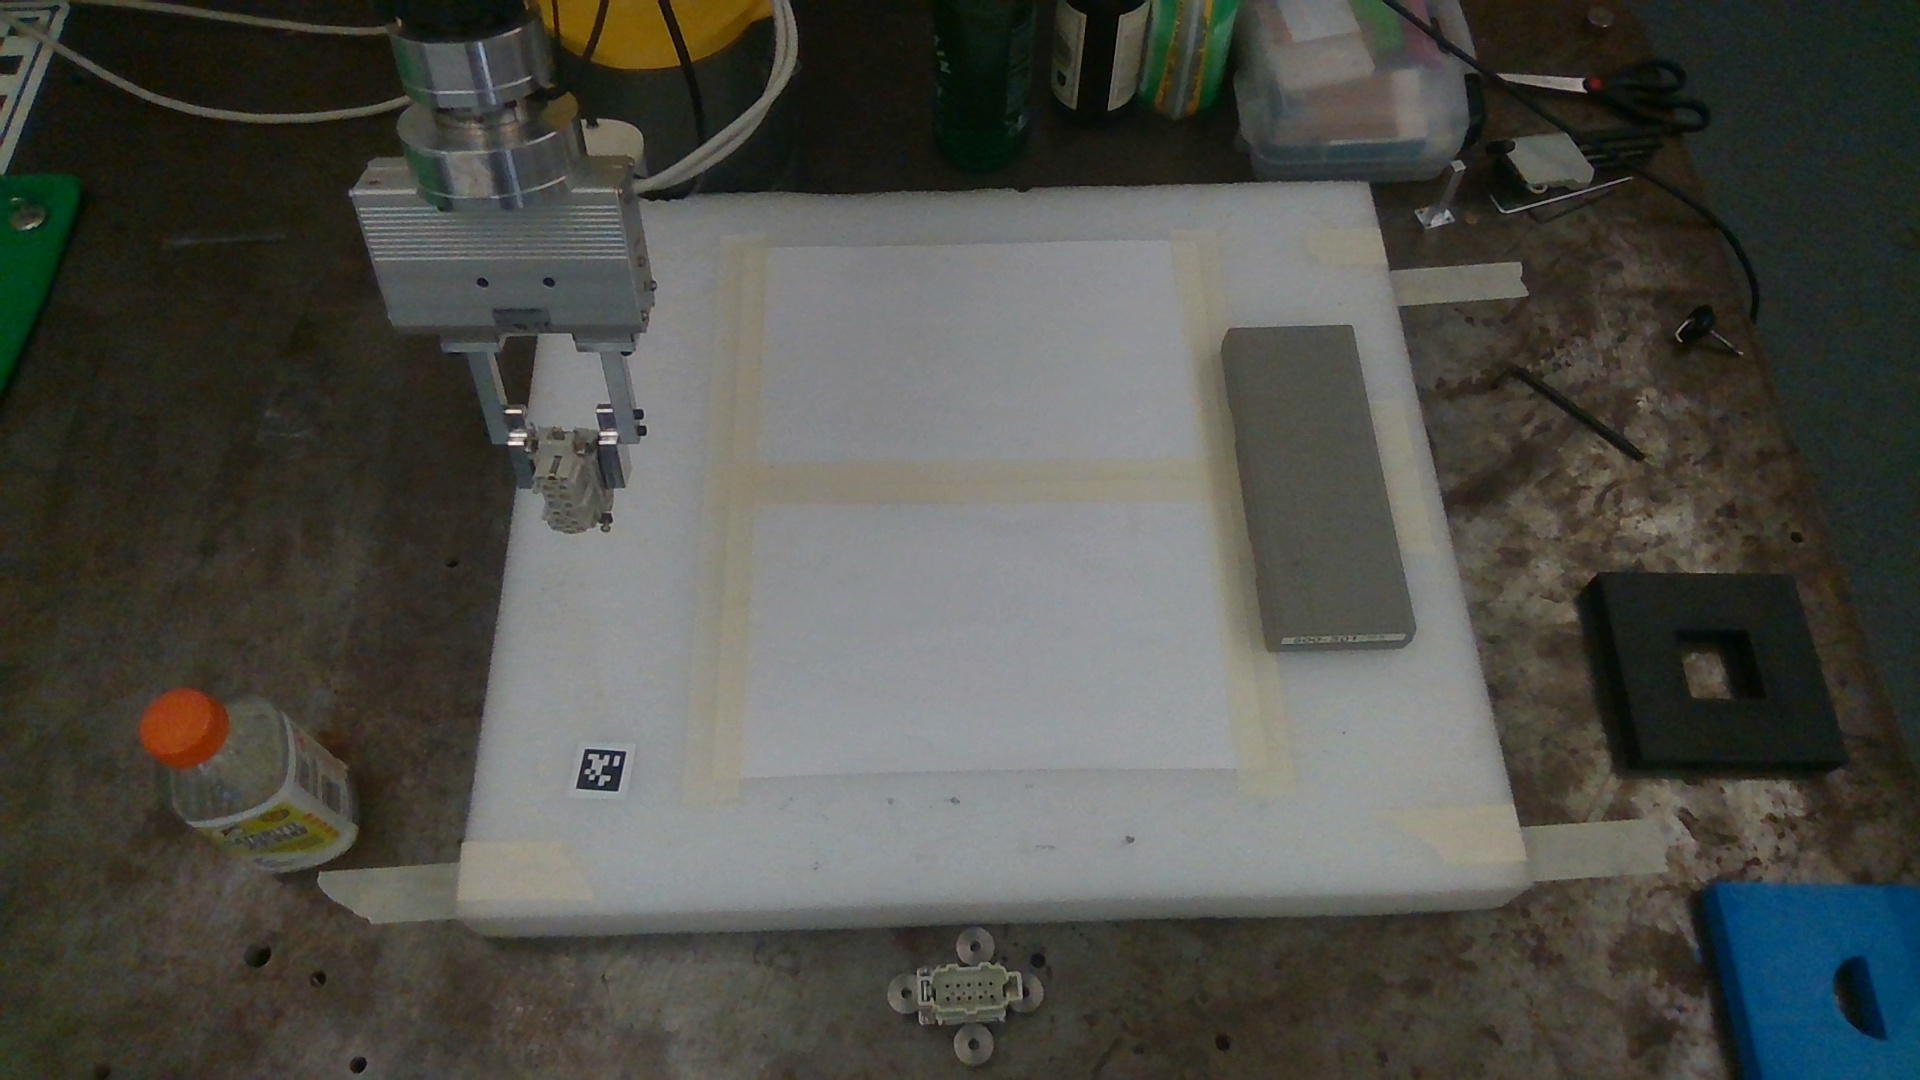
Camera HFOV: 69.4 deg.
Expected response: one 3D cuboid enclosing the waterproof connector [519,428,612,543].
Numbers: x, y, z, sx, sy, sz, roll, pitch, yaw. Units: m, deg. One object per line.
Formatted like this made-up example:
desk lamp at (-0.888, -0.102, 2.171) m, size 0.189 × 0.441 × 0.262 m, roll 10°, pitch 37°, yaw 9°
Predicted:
waterproof connector at (-0.210, -0.029, 0.738) m, size 0.037 × 0.069 × 0.038 m, roll 4°, pitch 41°, yaw 4°
